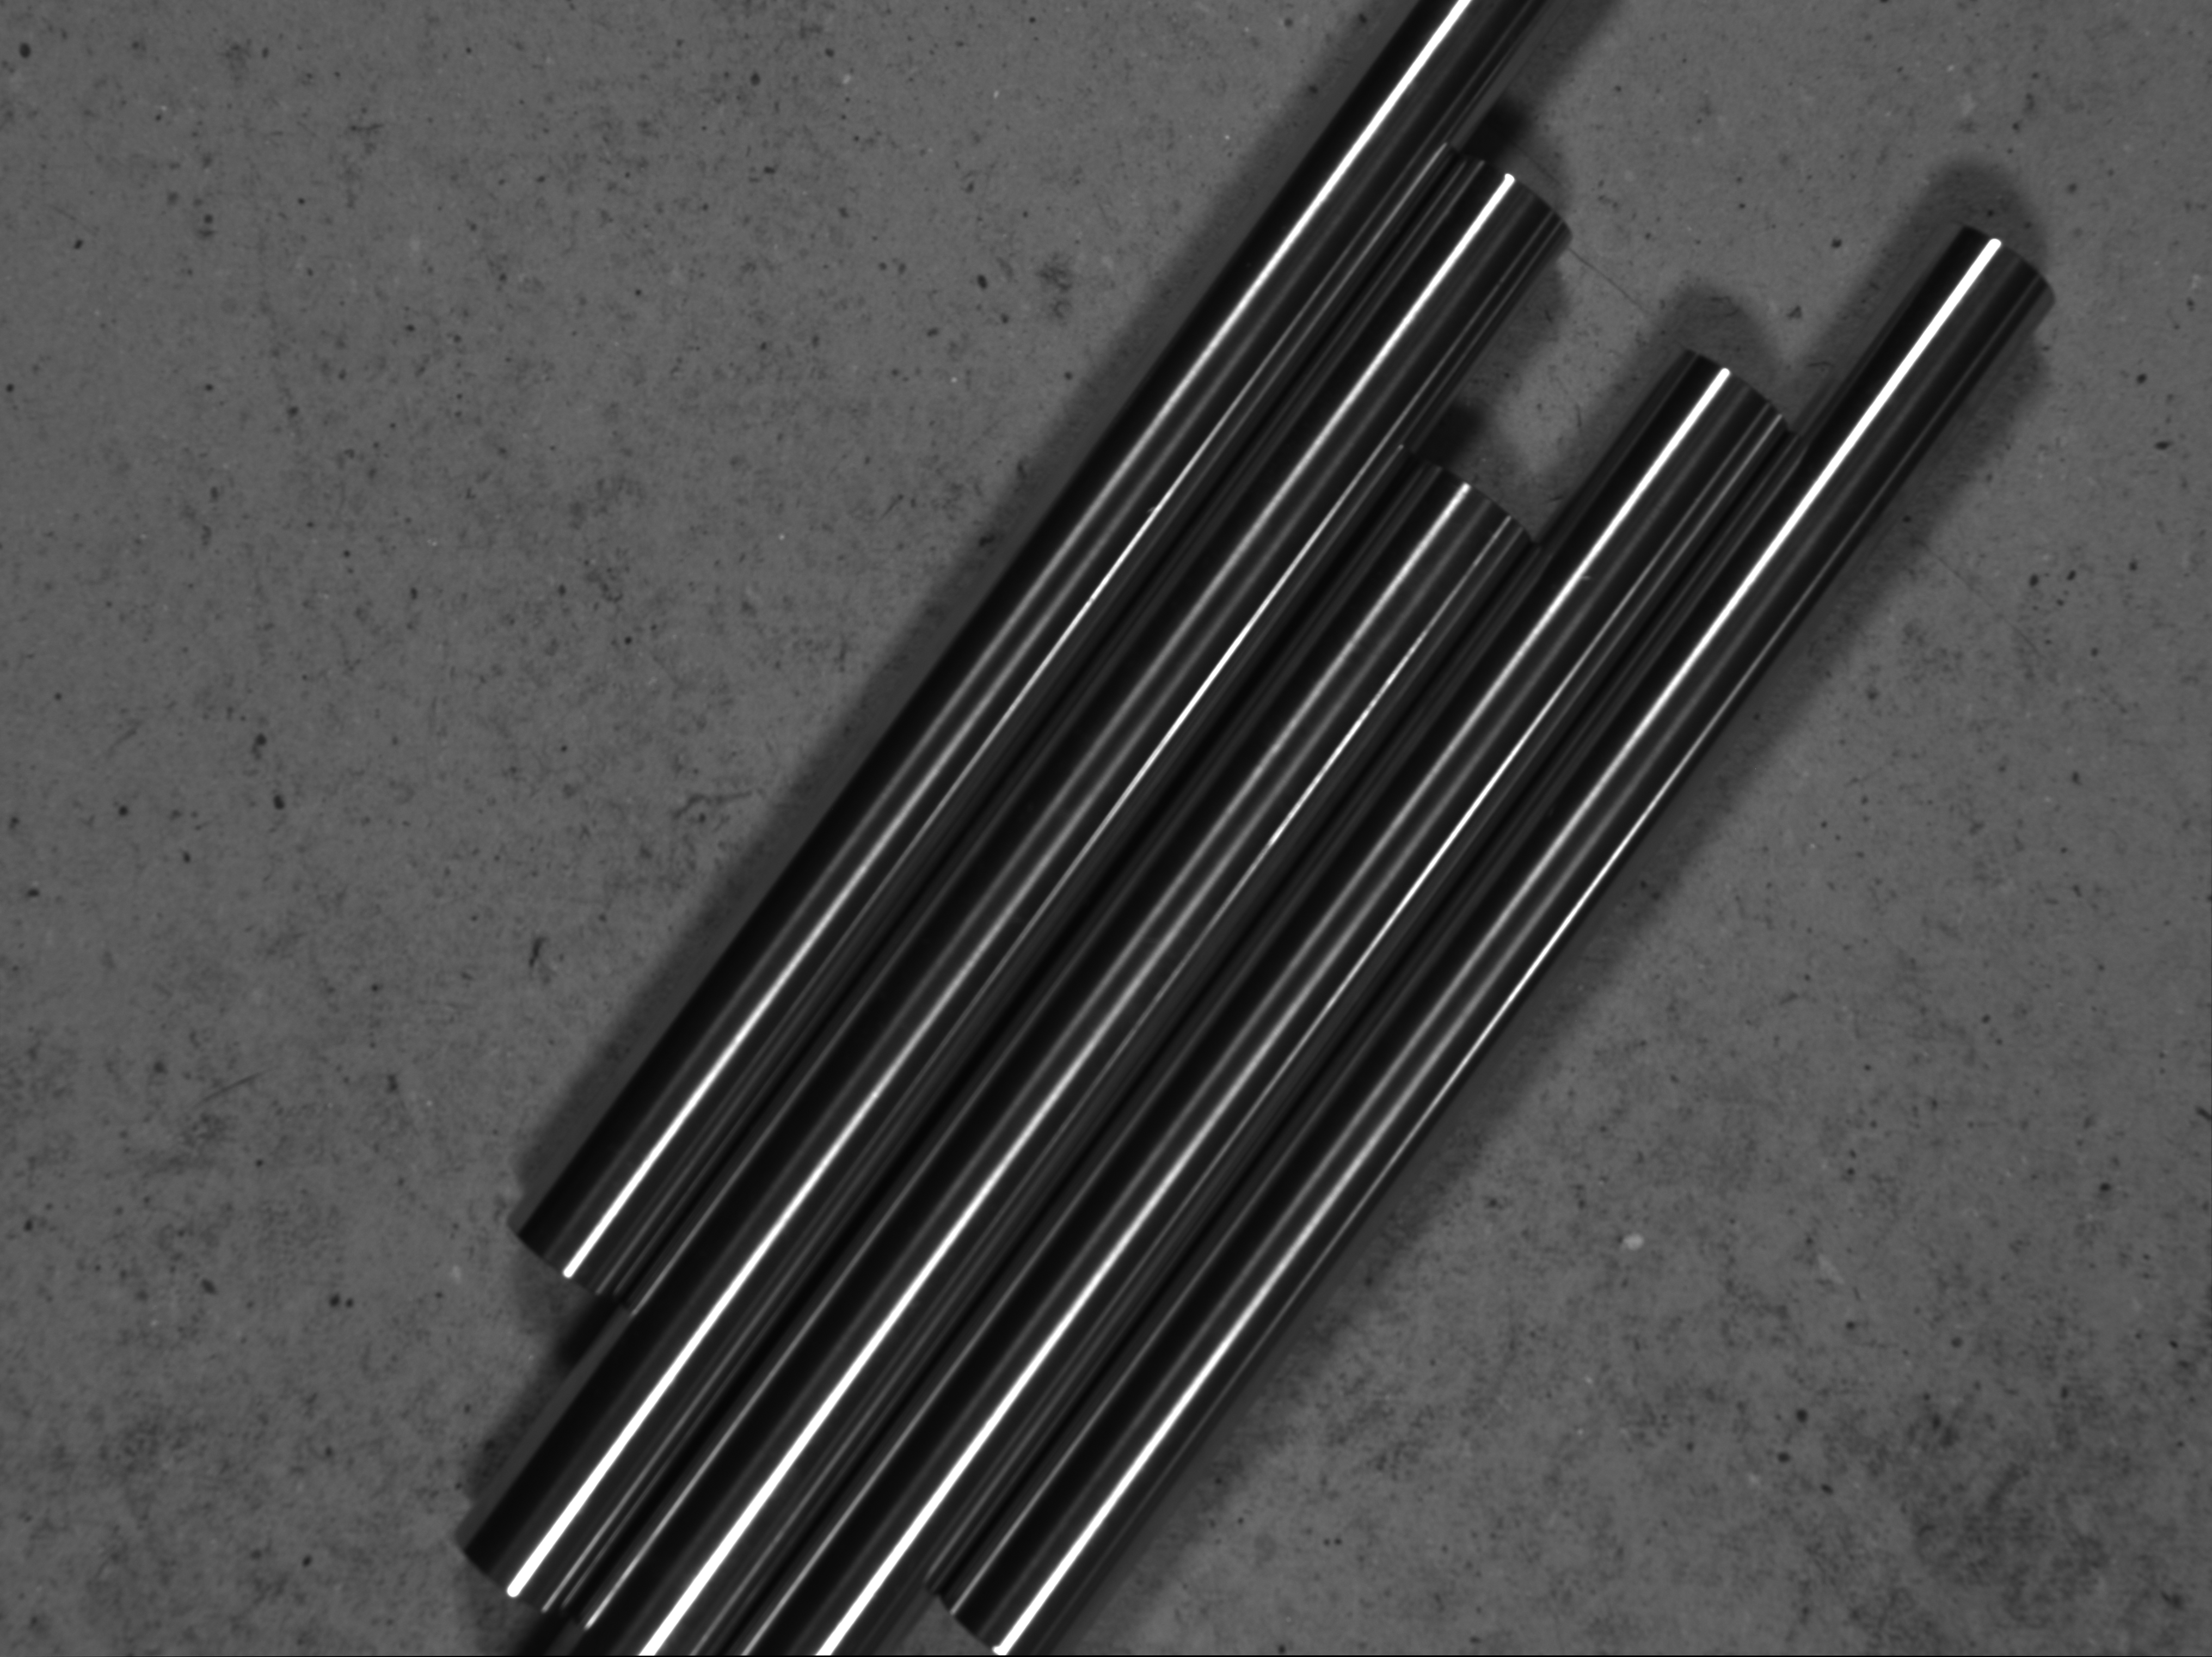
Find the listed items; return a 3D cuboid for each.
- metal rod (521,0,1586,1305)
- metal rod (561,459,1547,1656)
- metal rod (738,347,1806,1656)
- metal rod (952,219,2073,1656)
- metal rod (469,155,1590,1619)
[{"bbox_3d":[-0.004,-0.045,0.645,0.025,0.025,0.300,36,90,0],"label":"metal rod"},{"bbox_3d":[-0.021,0.063,0.645,0.025,0.025,0.300,36,90,0],"label":"metal rod"},{"bbox_3d":[0.025,0.044,0.645,0.025,0.025,0.300,36,90,0],"label":"metal rod"},{"bbox_3d":[0.071,0.021,0.645,0.025,0.025,0.300,36,90,0],"label":"metal rod"},{"bbox_3d":[-0.013,0.010,0.645,0.025,0.025,0.300,36,90,0],"label":"metal rod"}]
